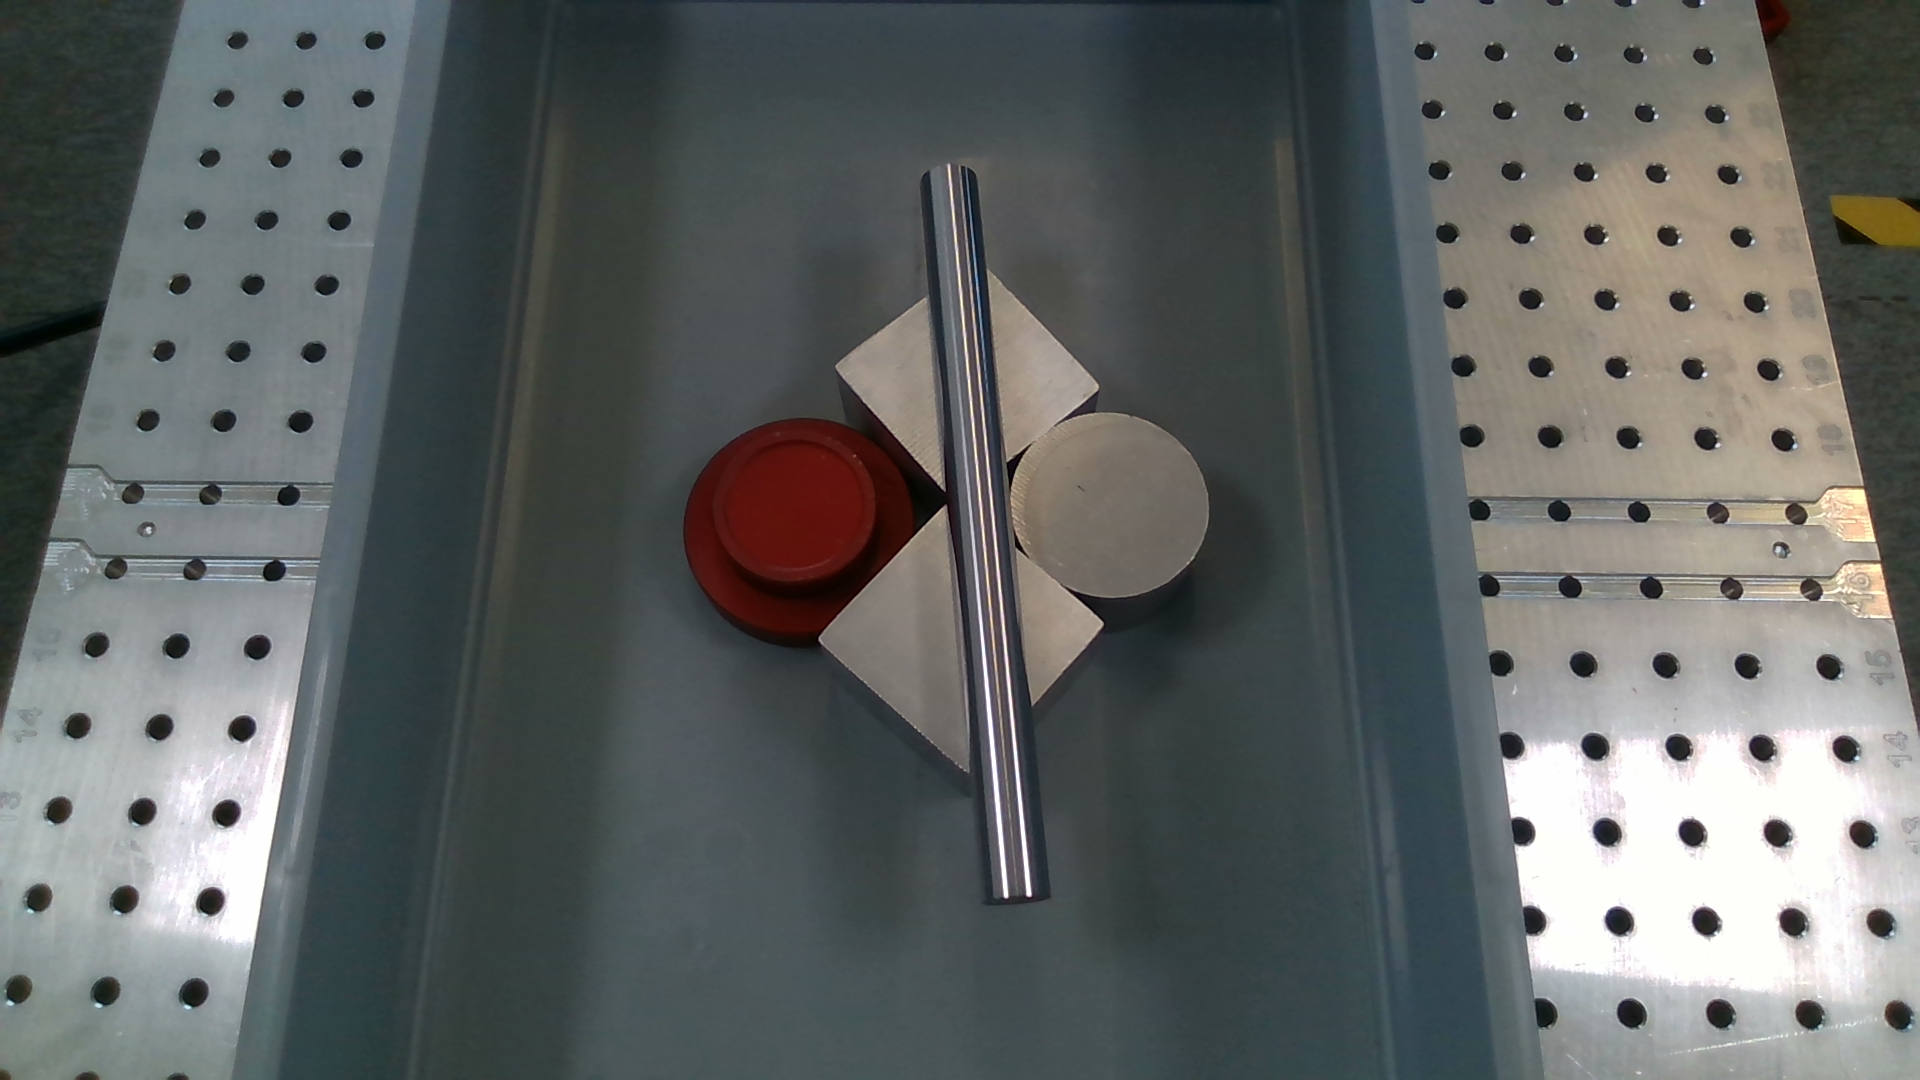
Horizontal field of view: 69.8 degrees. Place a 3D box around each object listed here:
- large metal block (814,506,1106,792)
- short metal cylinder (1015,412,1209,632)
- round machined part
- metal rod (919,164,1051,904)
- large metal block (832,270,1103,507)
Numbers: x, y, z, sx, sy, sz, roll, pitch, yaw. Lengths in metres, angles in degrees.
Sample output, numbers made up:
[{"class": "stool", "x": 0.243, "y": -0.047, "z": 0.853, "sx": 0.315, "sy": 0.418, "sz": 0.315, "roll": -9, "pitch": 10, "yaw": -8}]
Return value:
[{"class": "large metal block", "x": 0.000, "y": 0.044, "z": 0.555, "sx": 0.080, "sy": 0.050, "sz": 0.080, "roll": 40, "pitch": 75, "yaw": 14}, {"class": "short metal cylinder", "x": 0.060, "y": -0.007, "z": 0.576, "sx": 0.080, "sy": 0.050, "sz": 0.080, "roll": 0, "pitch": 70, "yaw": 0}, {"class": "round machined part", "x": -0.068, "y": -0.008, "z": 0.580, "sx": 0.098, "sy": 0.042, "sz": 0.098, "roll": 0, "pitch": 70, "yaw": 0}, {"class": "metal rod", "x": 0.007, "y": -0.013, "z": 0.537, "sx": 0.025, "sy": 0.025, "sz": 0.299, "roll": -5, "pitch": 70, "yaw": -2}, {"class": "large metal block", "x": 0.003, "y": -0.060, "z": 0.595, "sx": 0.080, "sy": 0.050, "sz": 0.080, "roll": -38, "pitch": 75, "yaw": -11}]
